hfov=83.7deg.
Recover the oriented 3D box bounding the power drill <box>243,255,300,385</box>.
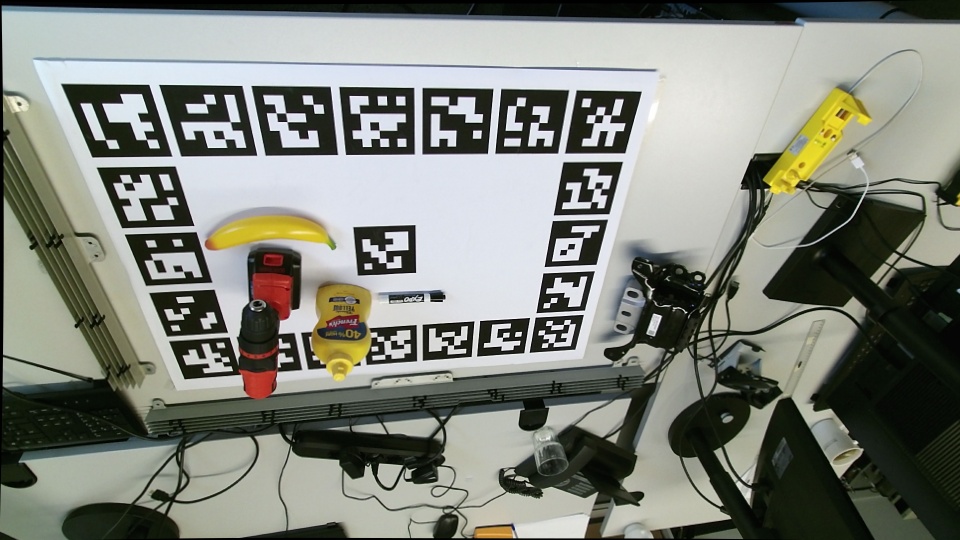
[{"bbox_3d":[-0.324,0.061,0.838,0.057,0.186,0.184,9,125,-16],"label":"power drill"}]

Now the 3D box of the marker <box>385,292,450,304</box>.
[{"bbox_3d":[-0.116,0.051,1.001,0.121,0.019,0.019,-2,124,-11],"label":"marker"}]

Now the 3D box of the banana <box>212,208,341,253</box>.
[{"bbox_3d":[-0.326,-0.065,0.866,0.198,0.038,0.074,3,123,-15],"label":"banana"}]

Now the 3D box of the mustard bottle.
[{"bbox_3d":[-0.226,0.099,0.905,0.096,0.190,0.058,7,123,-15],"label":"mustard bottle"}]
